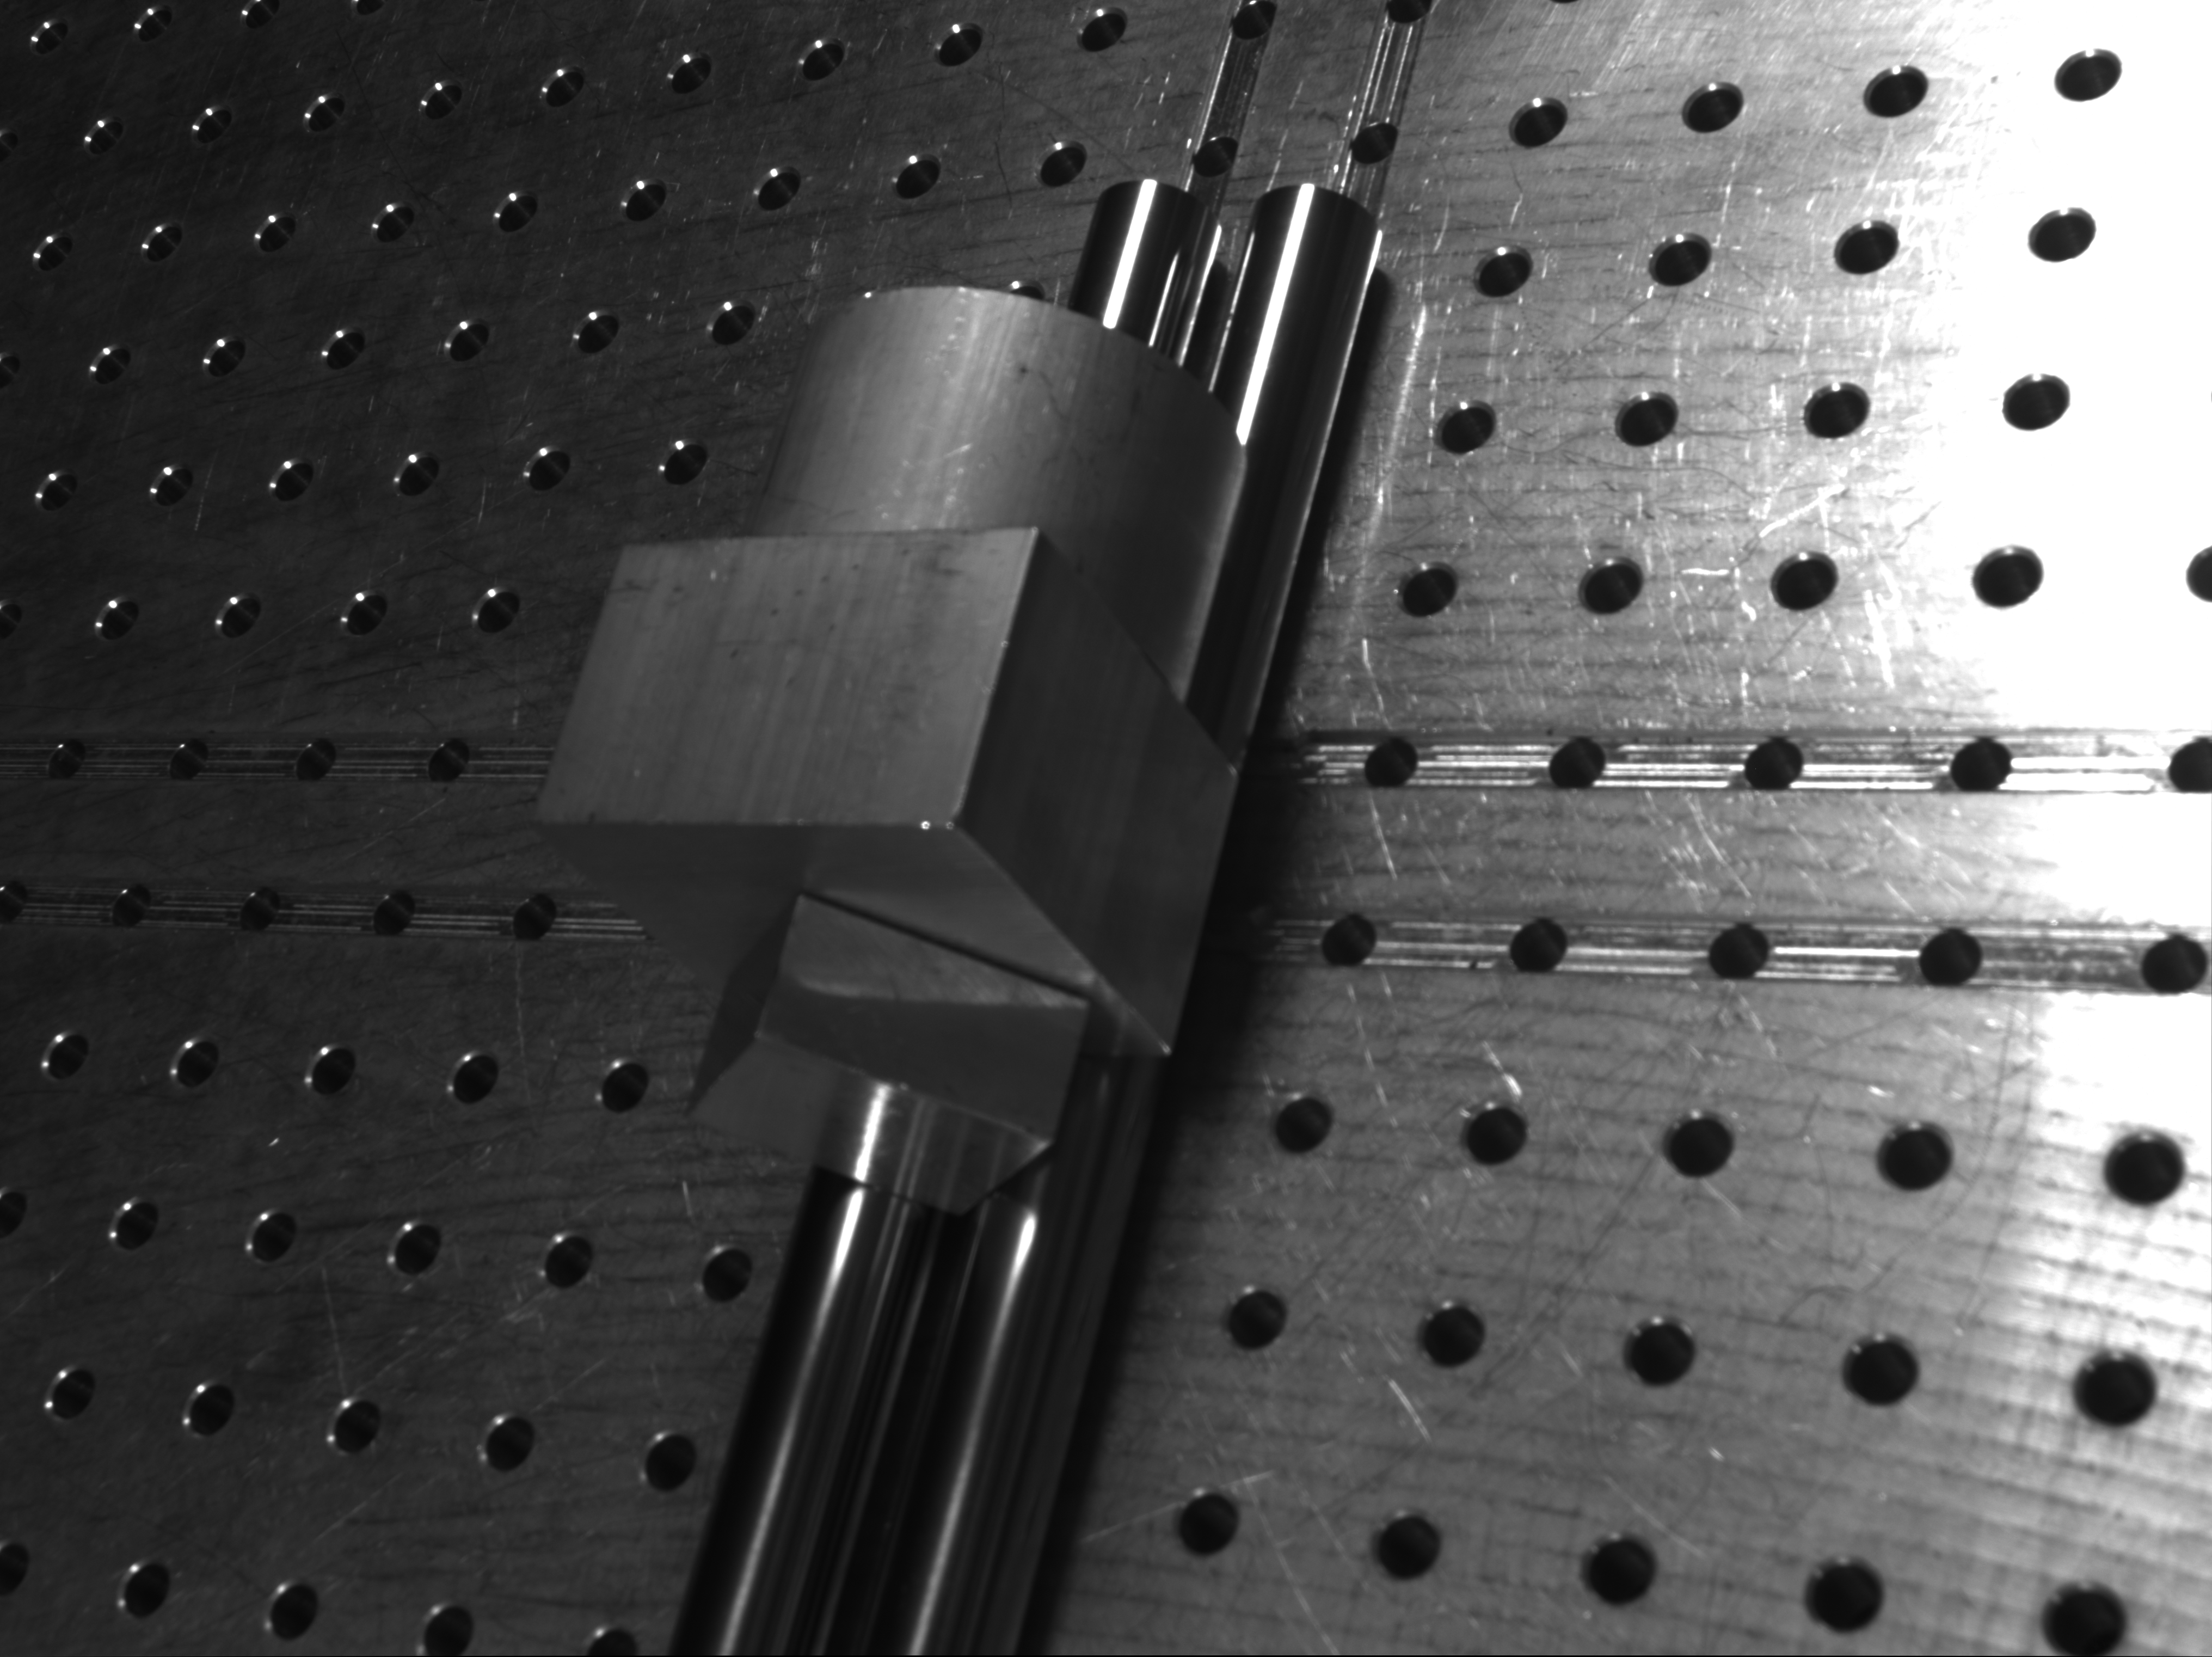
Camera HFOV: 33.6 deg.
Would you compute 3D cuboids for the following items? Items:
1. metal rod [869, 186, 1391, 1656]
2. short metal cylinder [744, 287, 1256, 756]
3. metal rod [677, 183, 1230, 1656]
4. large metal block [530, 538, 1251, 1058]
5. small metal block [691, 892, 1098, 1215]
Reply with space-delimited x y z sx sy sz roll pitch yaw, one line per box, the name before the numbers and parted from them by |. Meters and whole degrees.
metal rod | 0.006 0.017 0.635 0.025 0.025 0.300 1 62 29
short metal cylinder | -0.019 -0.048 0.624 0.080 0.080 0.050 1 62 29
metal rod | -0.024 0.013 0.654 0.025 0.025 0.300 1 62 29
large metal block | -0.033 -0.004 0.600 0.080 0.080 0.050 0 62 29
small metal block | -0.035 0.038 0.597 0.050 0.050 0.025 21 65 -12
